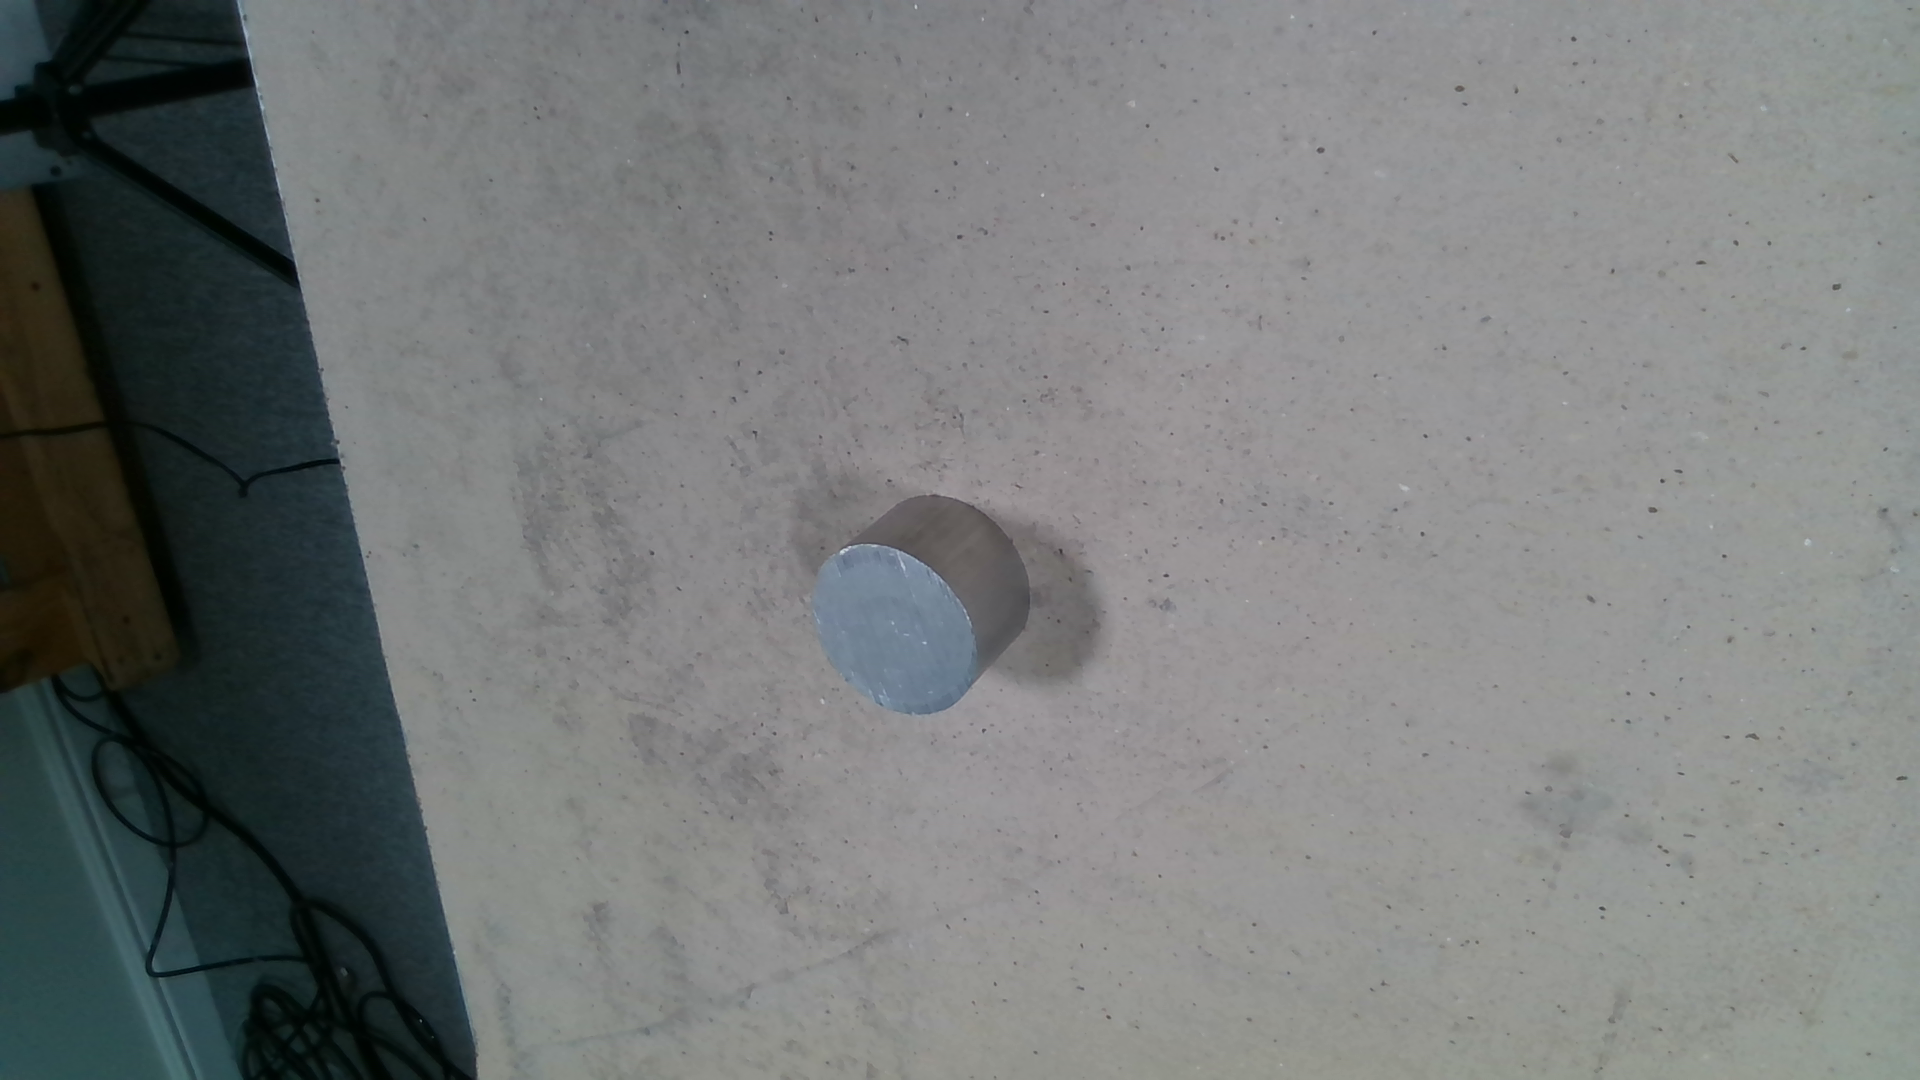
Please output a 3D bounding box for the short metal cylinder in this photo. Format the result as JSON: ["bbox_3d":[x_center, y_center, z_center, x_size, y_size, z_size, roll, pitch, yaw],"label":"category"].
[{"bbox_3d":[-0.017,0.027,0.589,0.080,0.050,0.080,14,122,25],"label":"short metal cylinder"}]
